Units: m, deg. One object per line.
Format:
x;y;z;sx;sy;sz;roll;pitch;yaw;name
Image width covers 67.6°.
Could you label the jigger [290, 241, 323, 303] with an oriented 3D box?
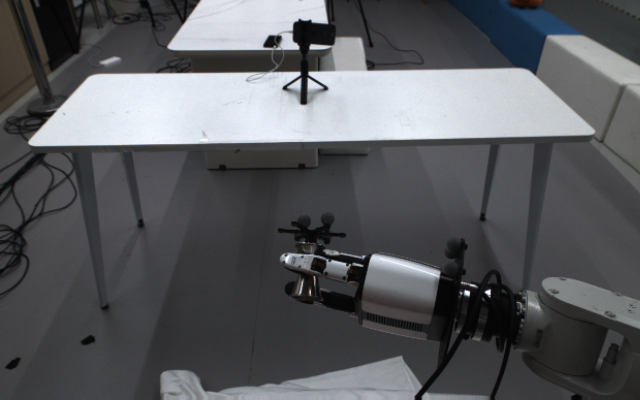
-0.017;0.090;0.617;0.043;0.043;0.071;5;71;4;jigger
